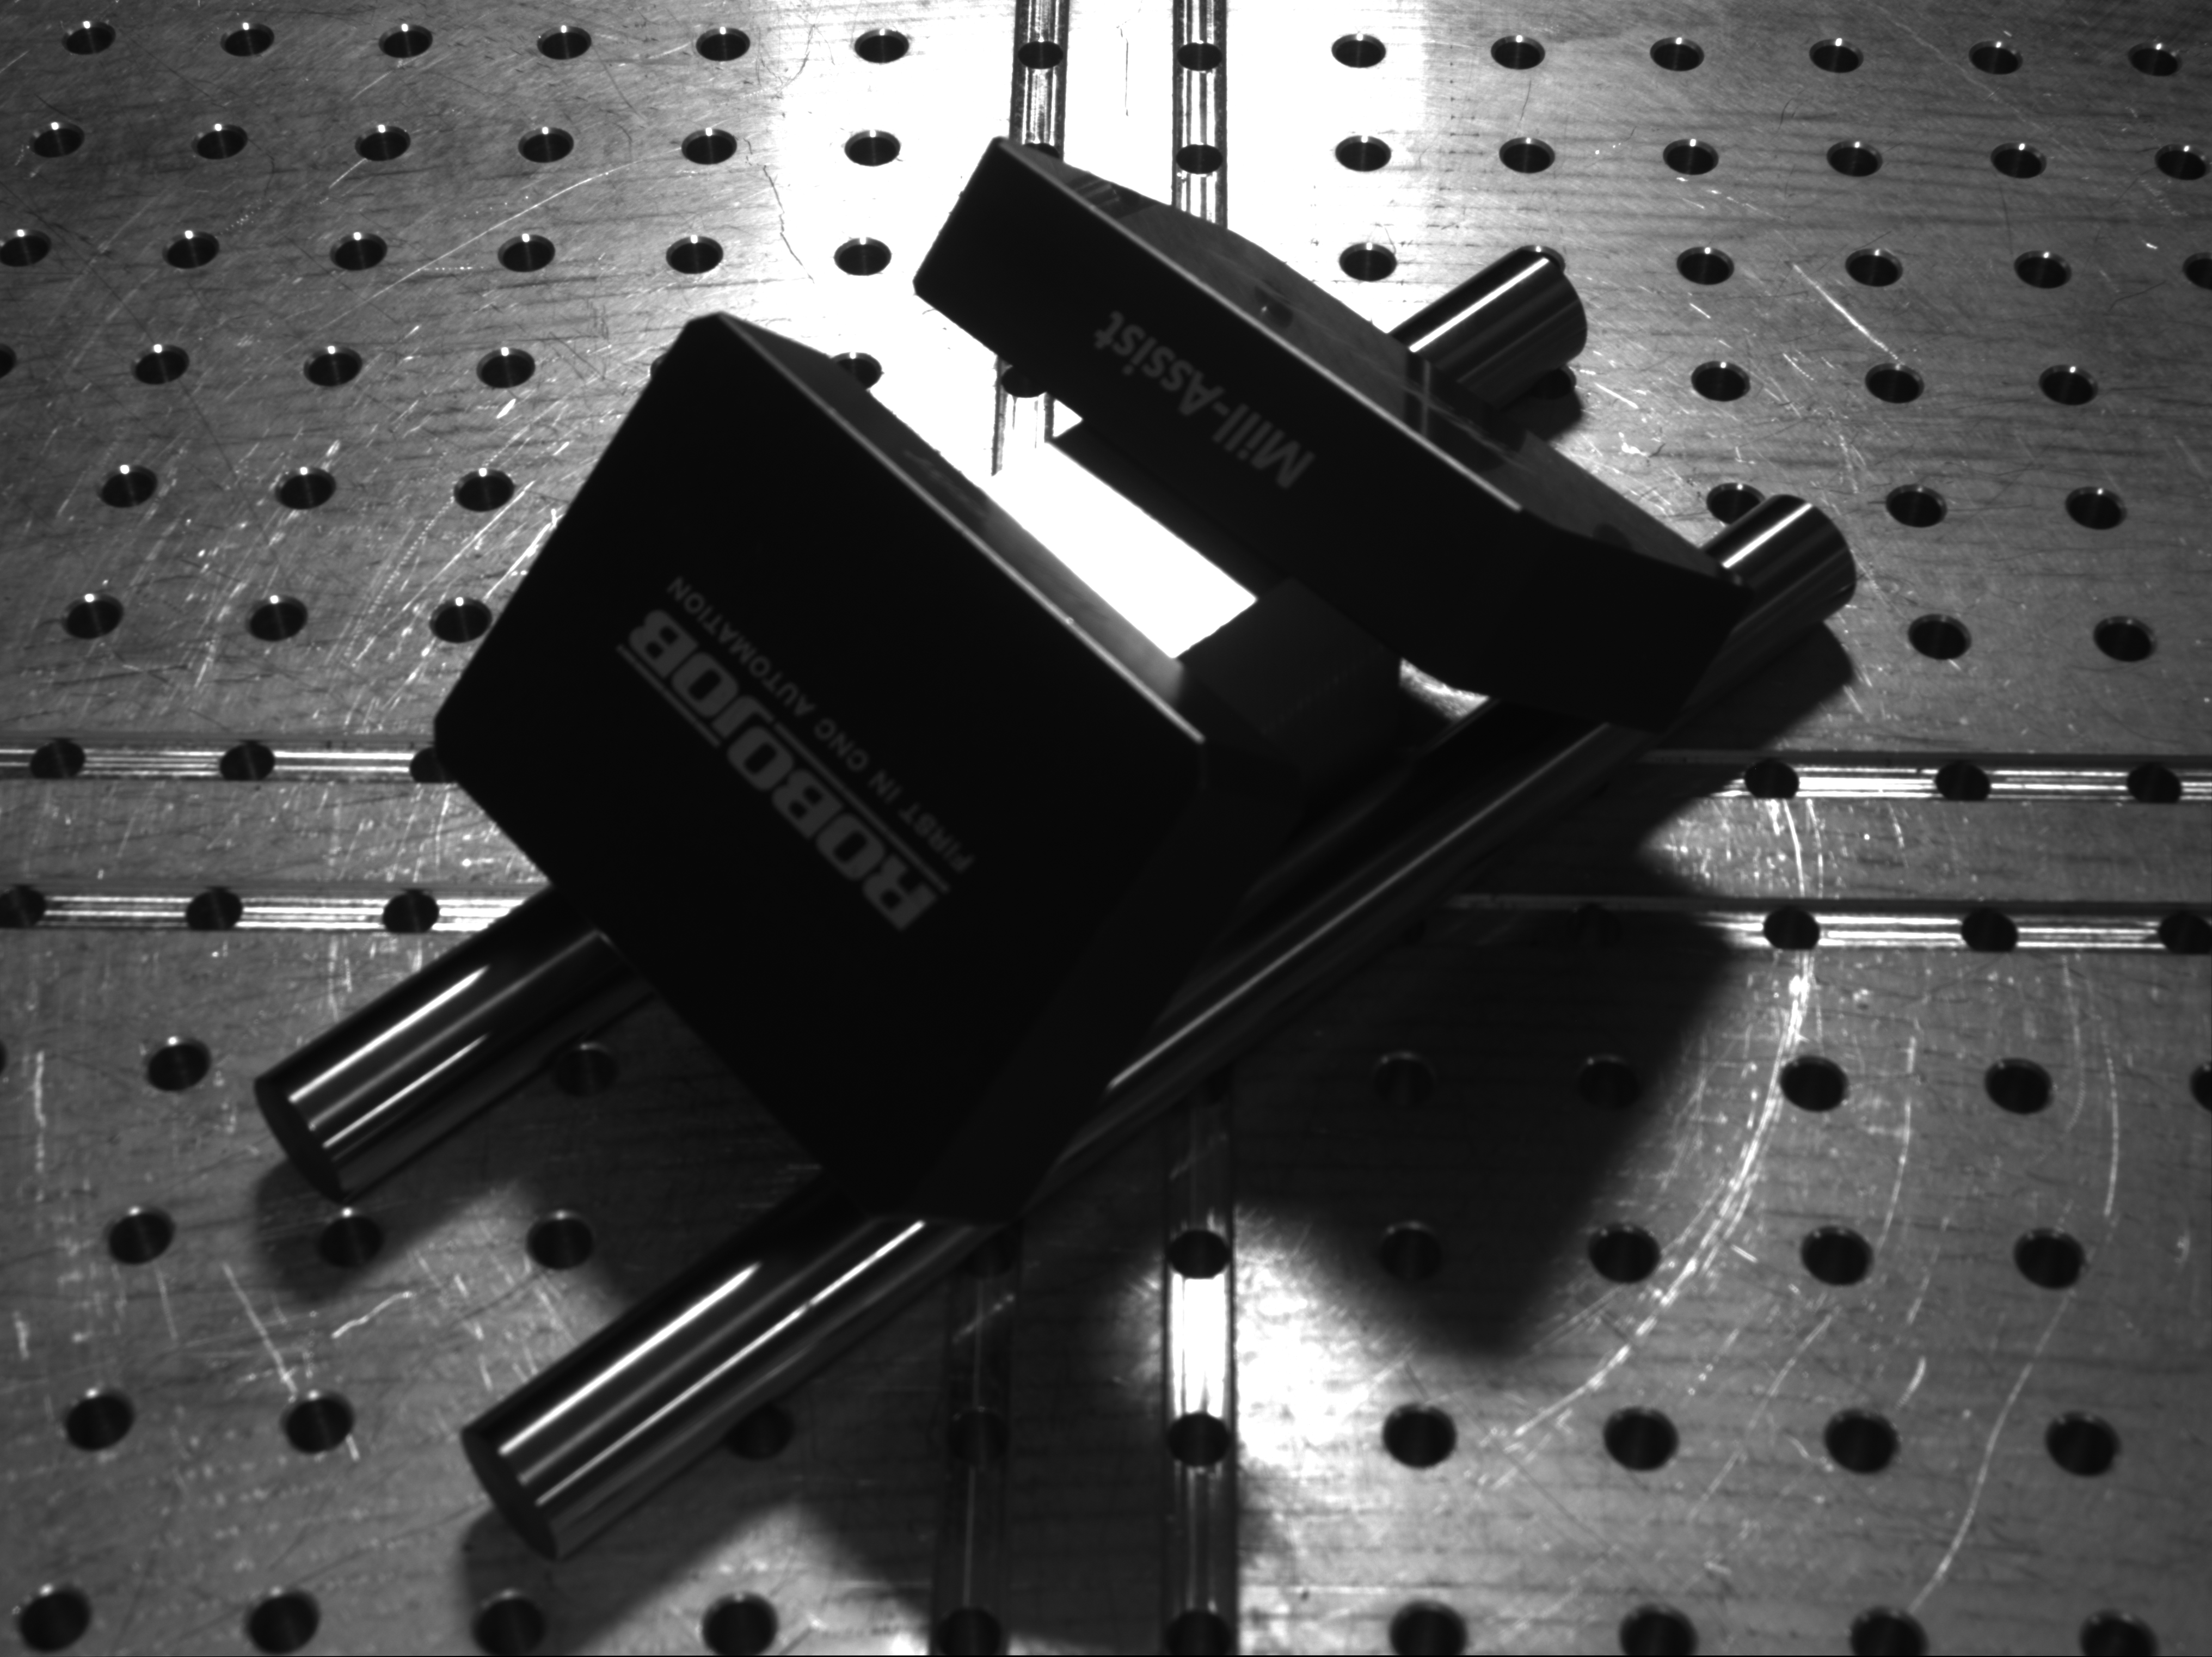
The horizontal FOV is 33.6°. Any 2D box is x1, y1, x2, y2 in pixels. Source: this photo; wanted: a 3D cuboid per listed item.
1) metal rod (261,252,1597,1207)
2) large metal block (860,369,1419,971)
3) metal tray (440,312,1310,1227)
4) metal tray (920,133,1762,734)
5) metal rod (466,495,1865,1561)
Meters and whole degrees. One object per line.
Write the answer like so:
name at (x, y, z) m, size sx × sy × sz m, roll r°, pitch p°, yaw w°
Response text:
metal rod at (-0.021, -0.026, 0.668) m, size 0.300 × 0.025 × 0.025 m, roll -35°, pitch 58°, yaw -26°
large metal block at (0.007, -0.024, 0.628) m, size 0.080 × 0.080 × 0.050 m, roll -35°, pitch 58°, yaw -26°
metal tray at (-0.040, -0.010, 0.583) m, size 0.130 × 0.030 × 0.090 m, roll 43°, pitch 105°, yaw 30°
metal tray at (0.040, -0.067, 0.631) m, size 0.130 × 0.030 × 0.090 m, roll 39°, pitch 16°, yaw 28°
metal rod at (0.021, 0.025, 0.624) m, size 0.300 × 0.025 × 0.025 m, roll -34°, pitch 58°, yaw -26°
